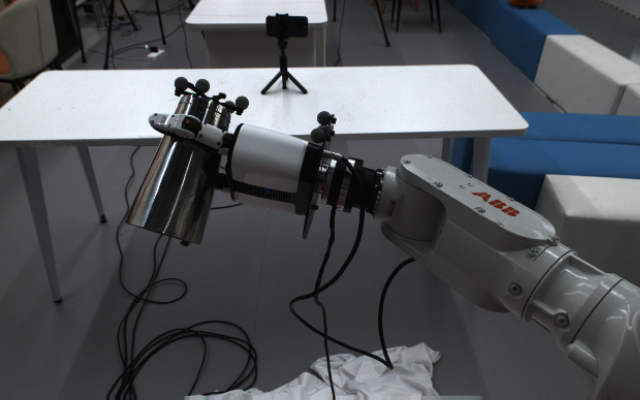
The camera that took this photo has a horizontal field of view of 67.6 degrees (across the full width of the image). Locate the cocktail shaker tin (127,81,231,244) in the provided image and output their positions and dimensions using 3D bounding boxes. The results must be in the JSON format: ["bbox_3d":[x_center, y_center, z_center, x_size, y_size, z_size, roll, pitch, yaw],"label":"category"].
[{"bbox_3d":[-0.164,-0.041,0.601,0.093,0.093,0.170,13,80,16],"label":"cocktail shaker tin"}]
